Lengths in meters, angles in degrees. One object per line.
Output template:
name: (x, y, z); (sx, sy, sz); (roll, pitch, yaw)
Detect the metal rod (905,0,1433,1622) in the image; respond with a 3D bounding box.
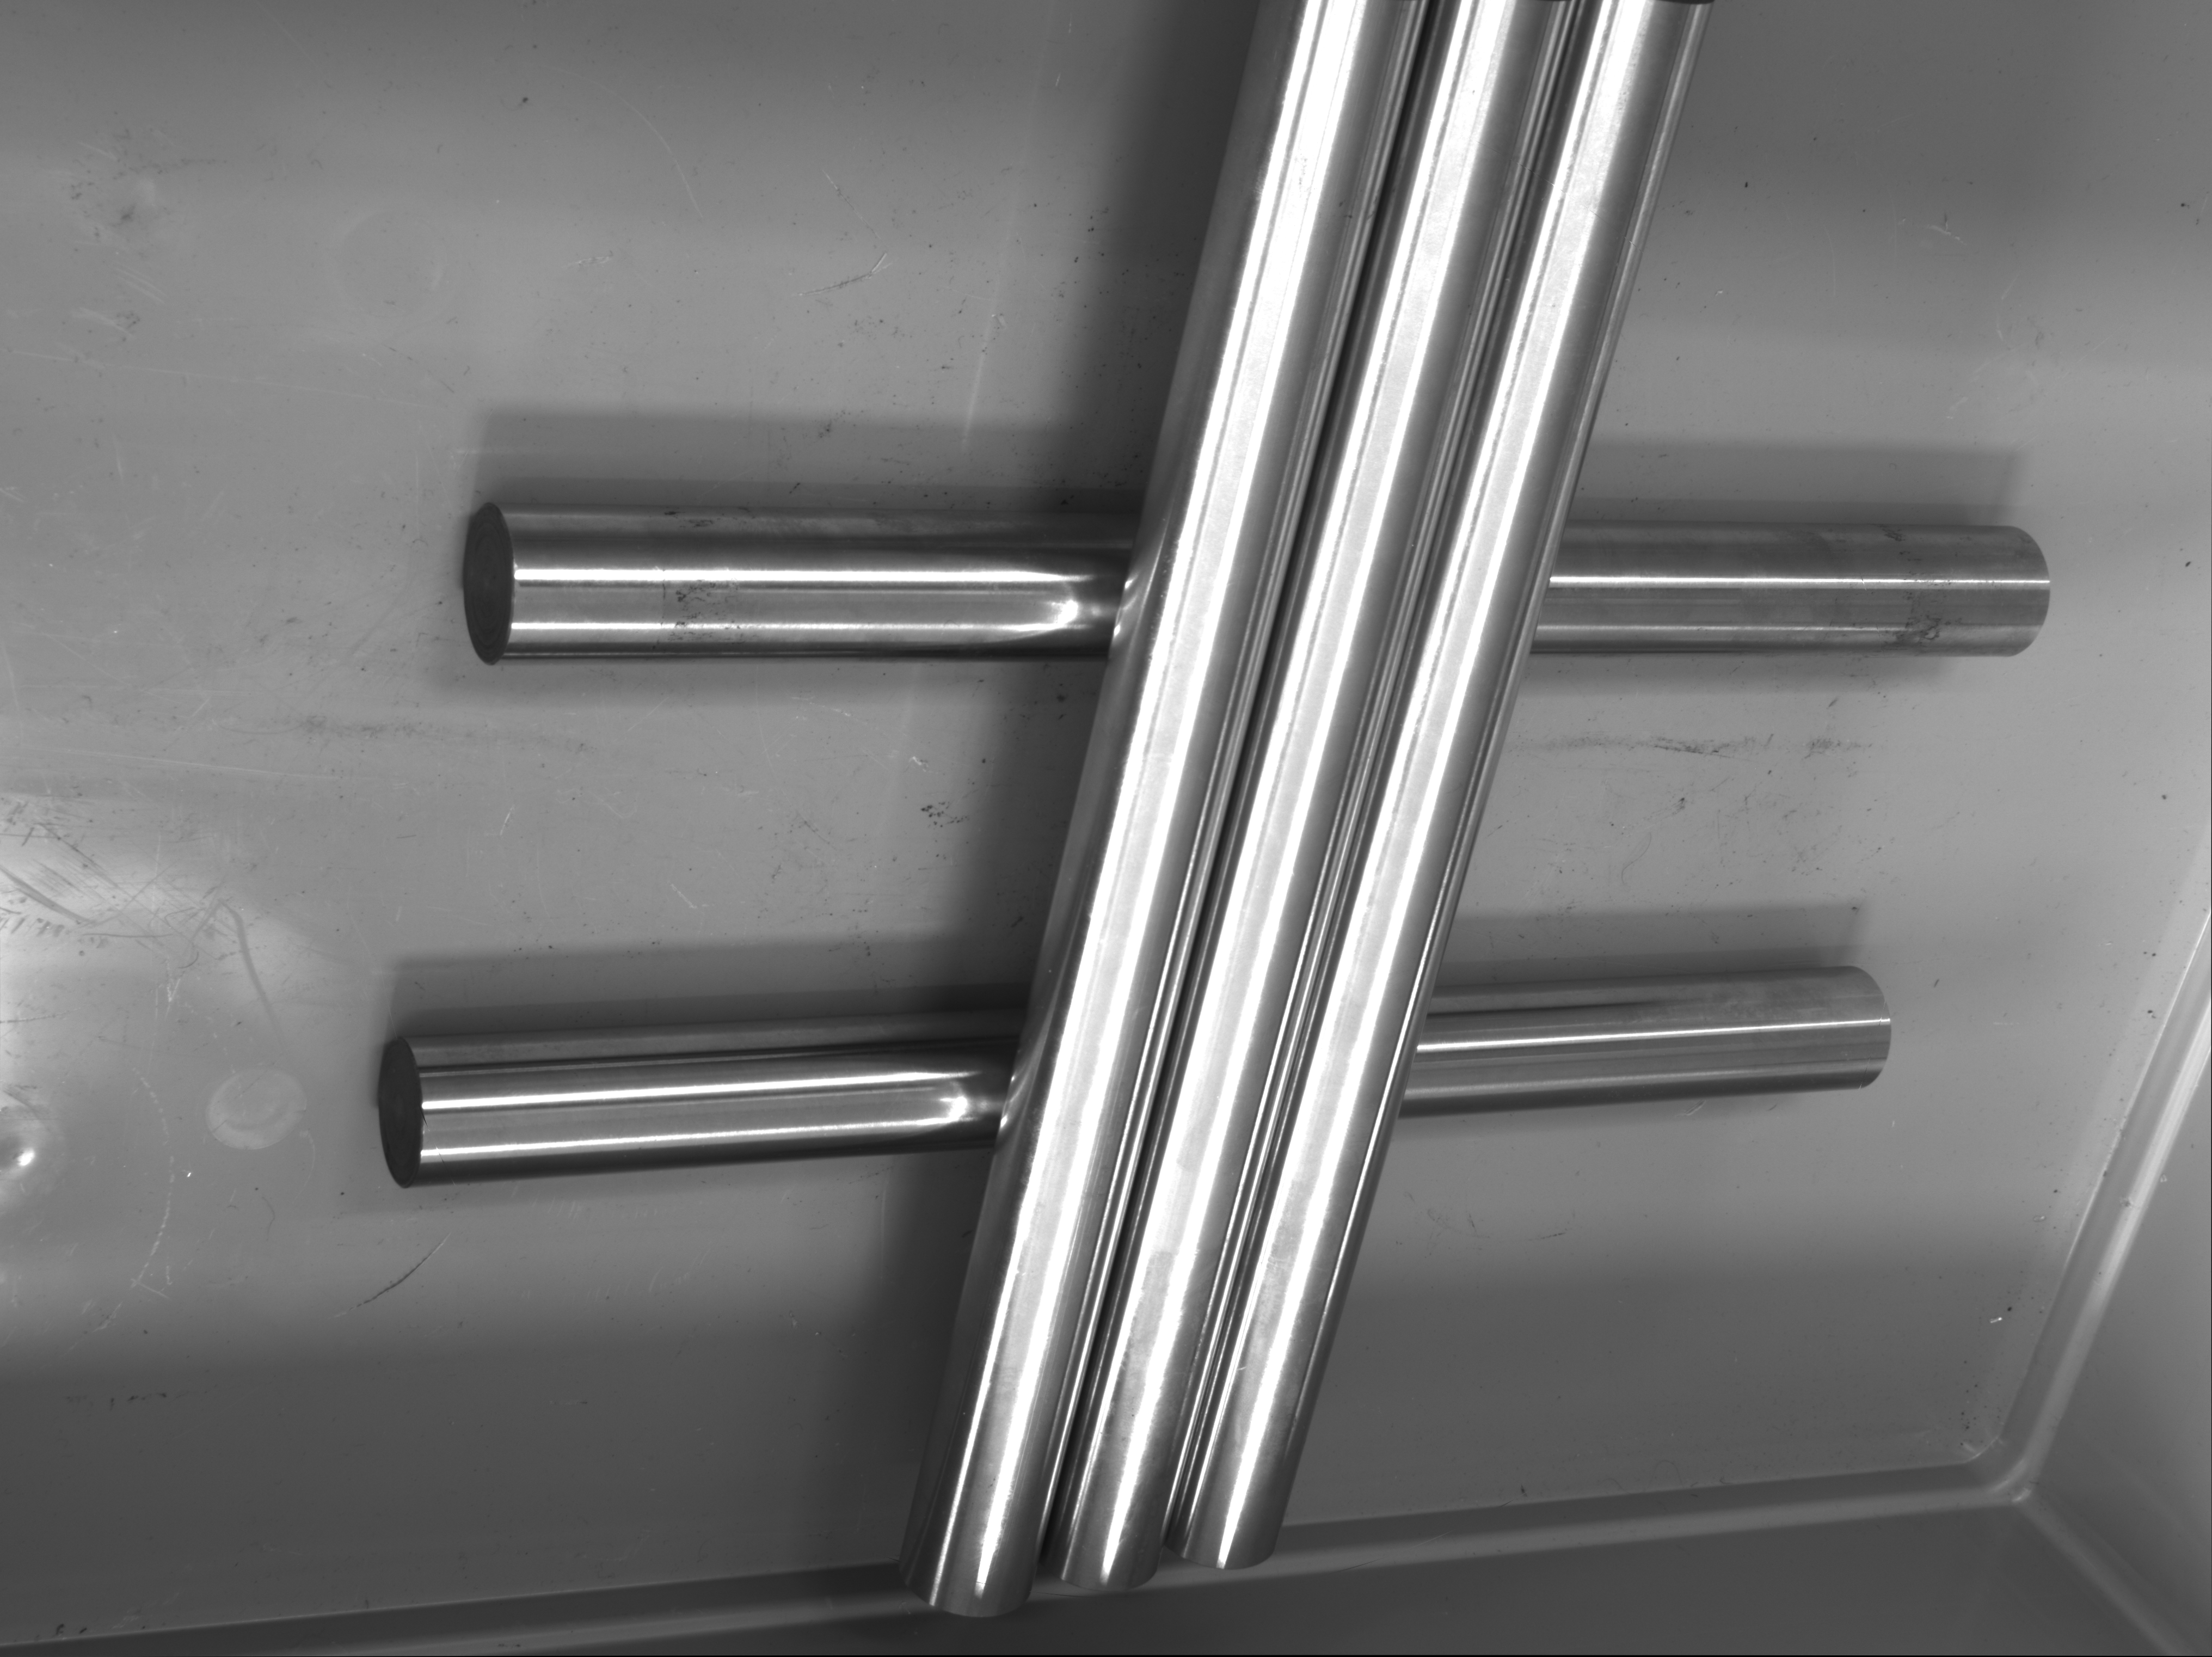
metal rod: (0.006, 0.005, 0.609); (0.025, 0.025, 0.300); (-1, 119, -28)

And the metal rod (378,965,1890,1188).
metal rod: (0.017, 0.043, 0.672); (0.301, 0.025, 0.025); (-1, 119, -28)

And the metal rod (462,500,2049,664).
metal rod: (0.038, -0.041, 0.632); (0.301, 0.025, 0.025); (-2, 119, -28)

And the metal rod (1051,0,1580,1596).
metal rod: (0.029, 0.003, 0.620); (0.025, 0.025, 0.300); (-1, 119, -28)

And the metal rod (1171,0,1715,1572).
metal rod: (0.051, 0.000, 0.631); (0.025, 0.025, 0.300); (-1, 119, -28)
